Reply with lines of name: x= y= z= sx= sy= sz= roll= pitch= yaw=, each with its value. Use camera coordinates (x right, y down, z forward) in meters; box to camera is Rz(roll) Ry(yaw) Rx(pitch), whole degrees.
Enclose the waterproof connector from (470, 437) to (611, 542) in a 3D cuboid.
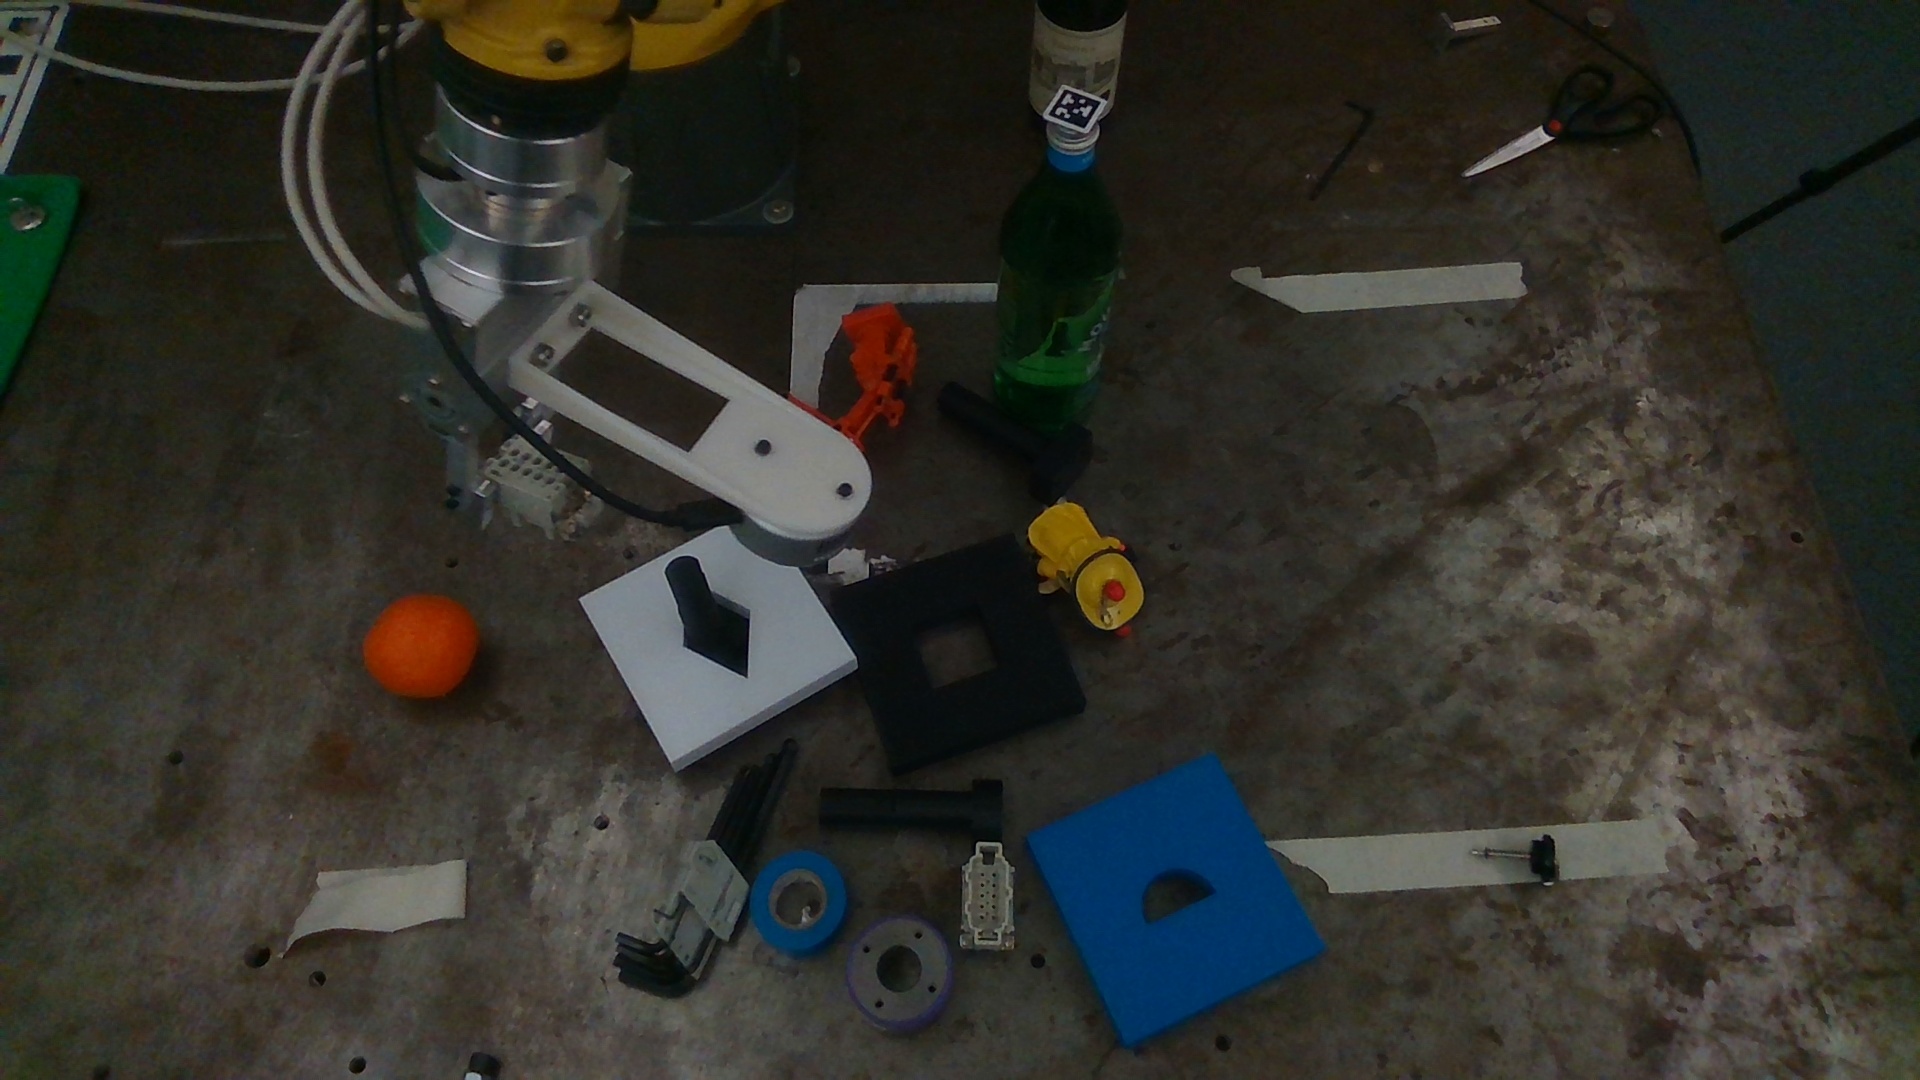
waterproof connector: x=-0.218 y=-0.025 z=0.722 sx=0.069 sy=0.038 sz=0.036 roll=17 pitch=50 yaw=16
